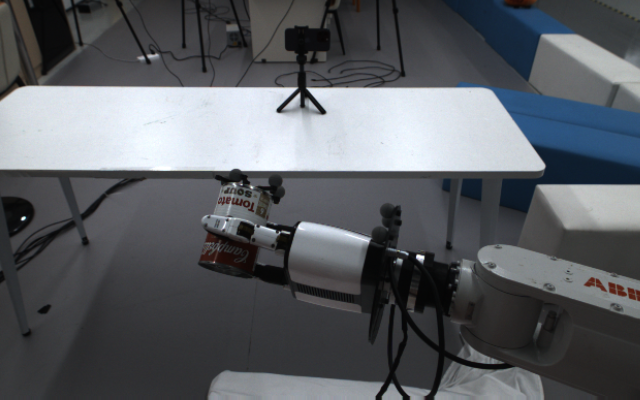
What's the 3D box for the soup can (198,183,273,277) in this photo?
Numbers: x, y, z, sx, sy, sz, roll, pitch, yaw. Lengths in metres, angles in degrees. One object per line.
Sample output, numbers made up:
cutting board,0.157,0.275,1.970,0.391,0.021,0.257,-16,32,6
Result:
soup can,-0.100,0.038,0.590,0.067,0.067,0.101,9,72,10
